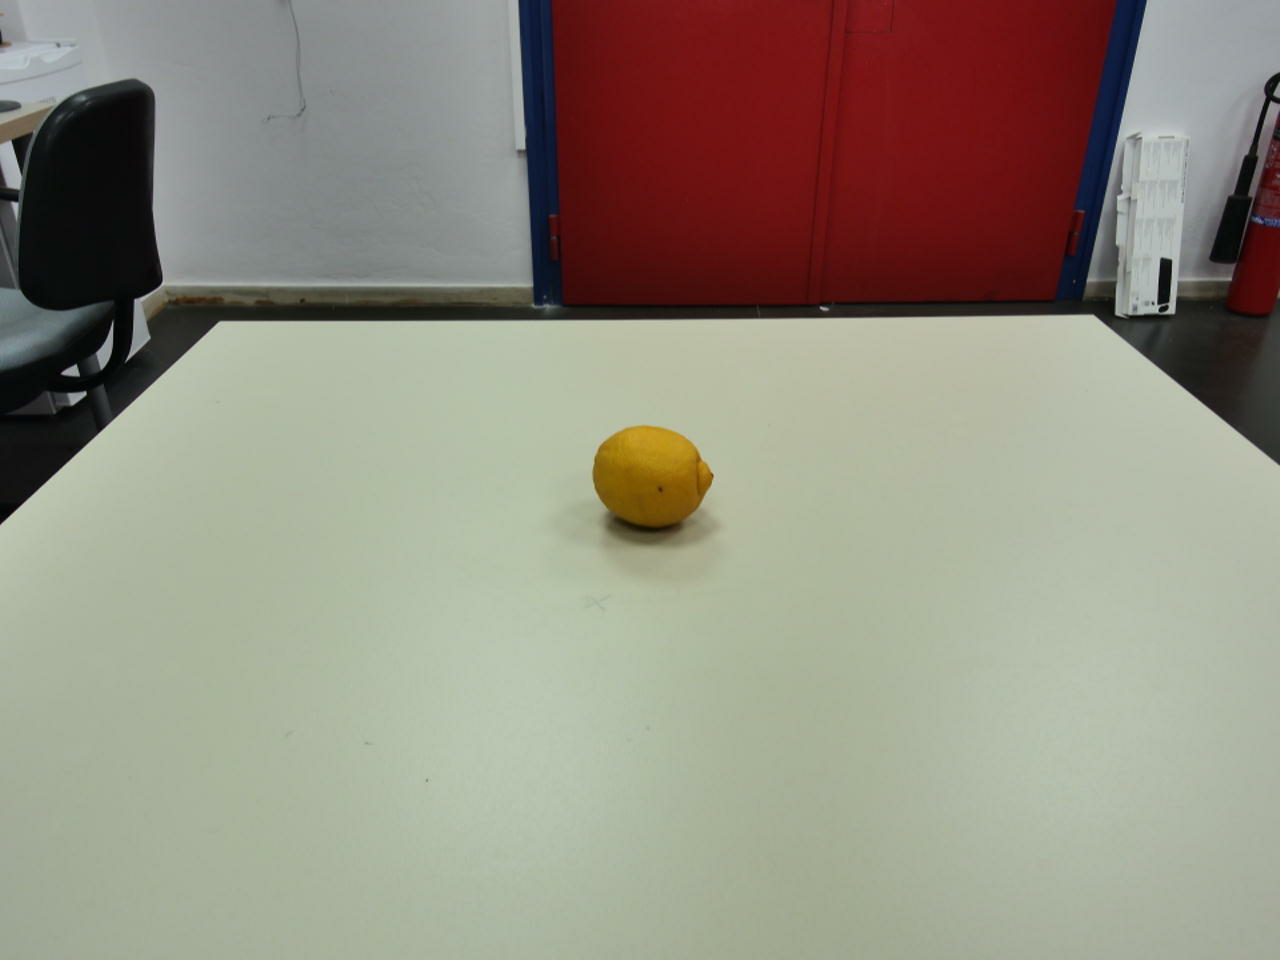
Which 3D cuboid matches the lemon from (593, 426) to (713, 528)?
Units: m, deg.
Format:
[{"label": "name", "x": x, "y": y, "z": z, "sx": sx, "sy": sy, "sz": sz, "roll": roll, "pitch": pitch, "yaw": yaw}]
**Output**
[{"label": "lemon", "x": 0.006, "y": -0.002, "z": 0.596, "sx": 0.067, "sy": 0.059, "sz": 0.060, "roll": 20, "pitch": 34, "yaw": 37}]
